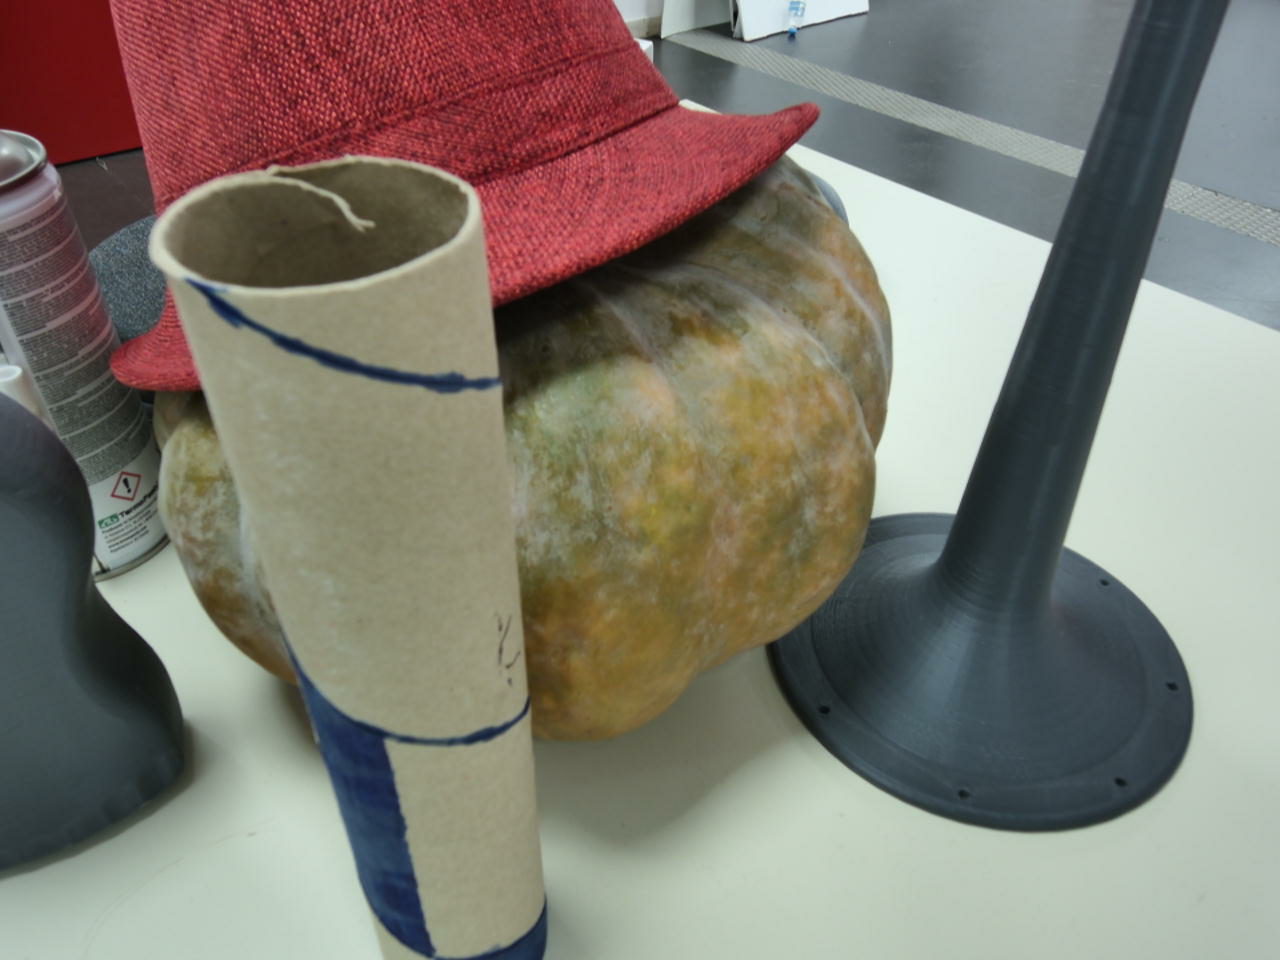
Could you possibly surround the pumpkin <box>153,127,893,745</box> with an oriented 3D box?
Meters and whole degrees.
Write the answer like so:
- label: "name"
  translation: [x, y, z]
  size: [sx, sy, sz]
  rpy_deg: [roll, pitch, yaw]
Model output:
- label: "pumpkin"
  translation: [-0.039, -0.024, 0.348]
  size: [0.252, 0.169, 0.251]
  rpy_deg: [0, 37, 0]
